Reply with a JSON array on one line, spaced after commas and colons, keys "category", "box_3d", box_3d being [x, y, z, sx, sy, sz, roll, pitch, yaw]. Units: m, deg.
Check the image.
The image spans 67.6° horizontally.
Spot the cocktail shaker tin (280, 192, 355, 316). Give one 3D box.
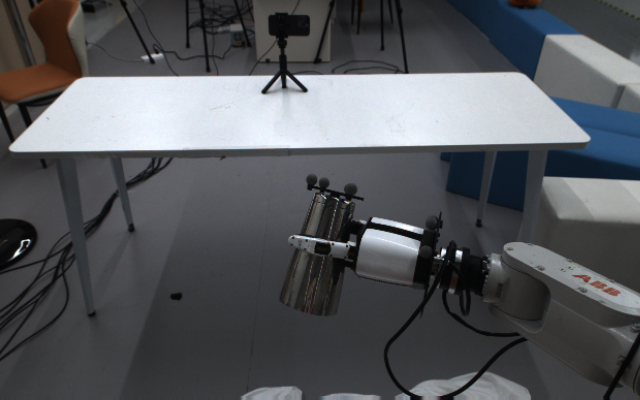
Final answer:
[{"category": "cocktail shaker tin", "box_3d": [0.001, 0.078, 0.738, 0.093, 0.170, 0.093, 14, 2, 0]}]
